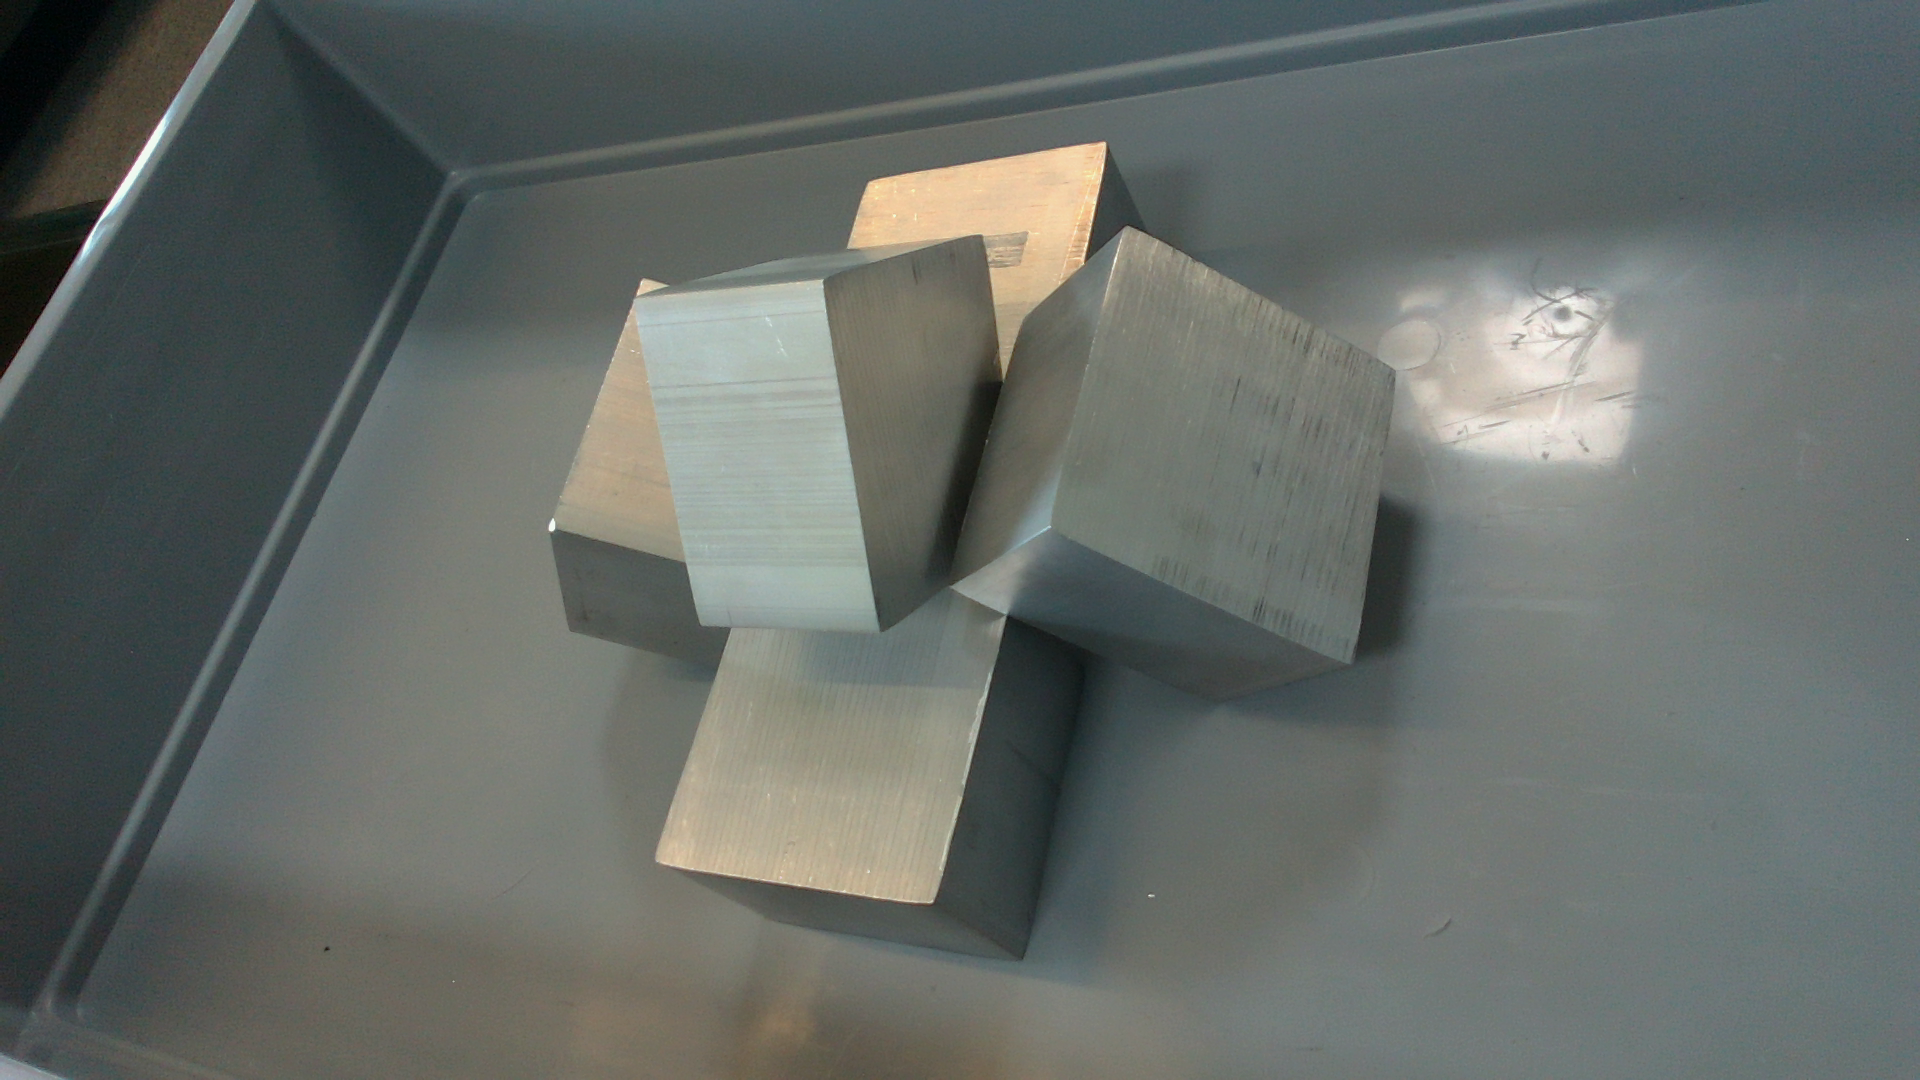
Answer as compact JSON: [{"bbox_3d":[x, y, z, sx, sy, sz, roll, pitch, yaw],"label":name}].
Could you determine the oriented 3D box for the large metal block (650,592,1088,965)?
[{"bbox_3d":[-0.021,0.056,0.353,0.080,0.050,0.080,1,62,29],"label":"large metal block"}]

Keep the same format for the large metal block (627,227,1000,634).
[{"bbox_3d":[-0.029,-0.029,0.339,0.050,0.080,0.080,0,18,27],"label":"large metal block"}]

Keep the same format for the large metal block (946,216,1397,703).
[{"bbox_3d":[0.052,-0.016,0.330,0.050,0.080,0.080,-34,37,60],"label":"large metal block"}]

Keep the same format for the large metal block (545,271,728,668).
[{"bbox_3d":[-0.079,-0.017,0.400,0.050,0.080,0.080,15,65,-5],"label":"large metal block"}]

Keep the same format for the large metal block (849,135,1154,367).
[{"bbox_3d":[0.009,-0.066,0.409,0.080,0.050,0.080,-2,61,28],"label":"large metal block"}]
